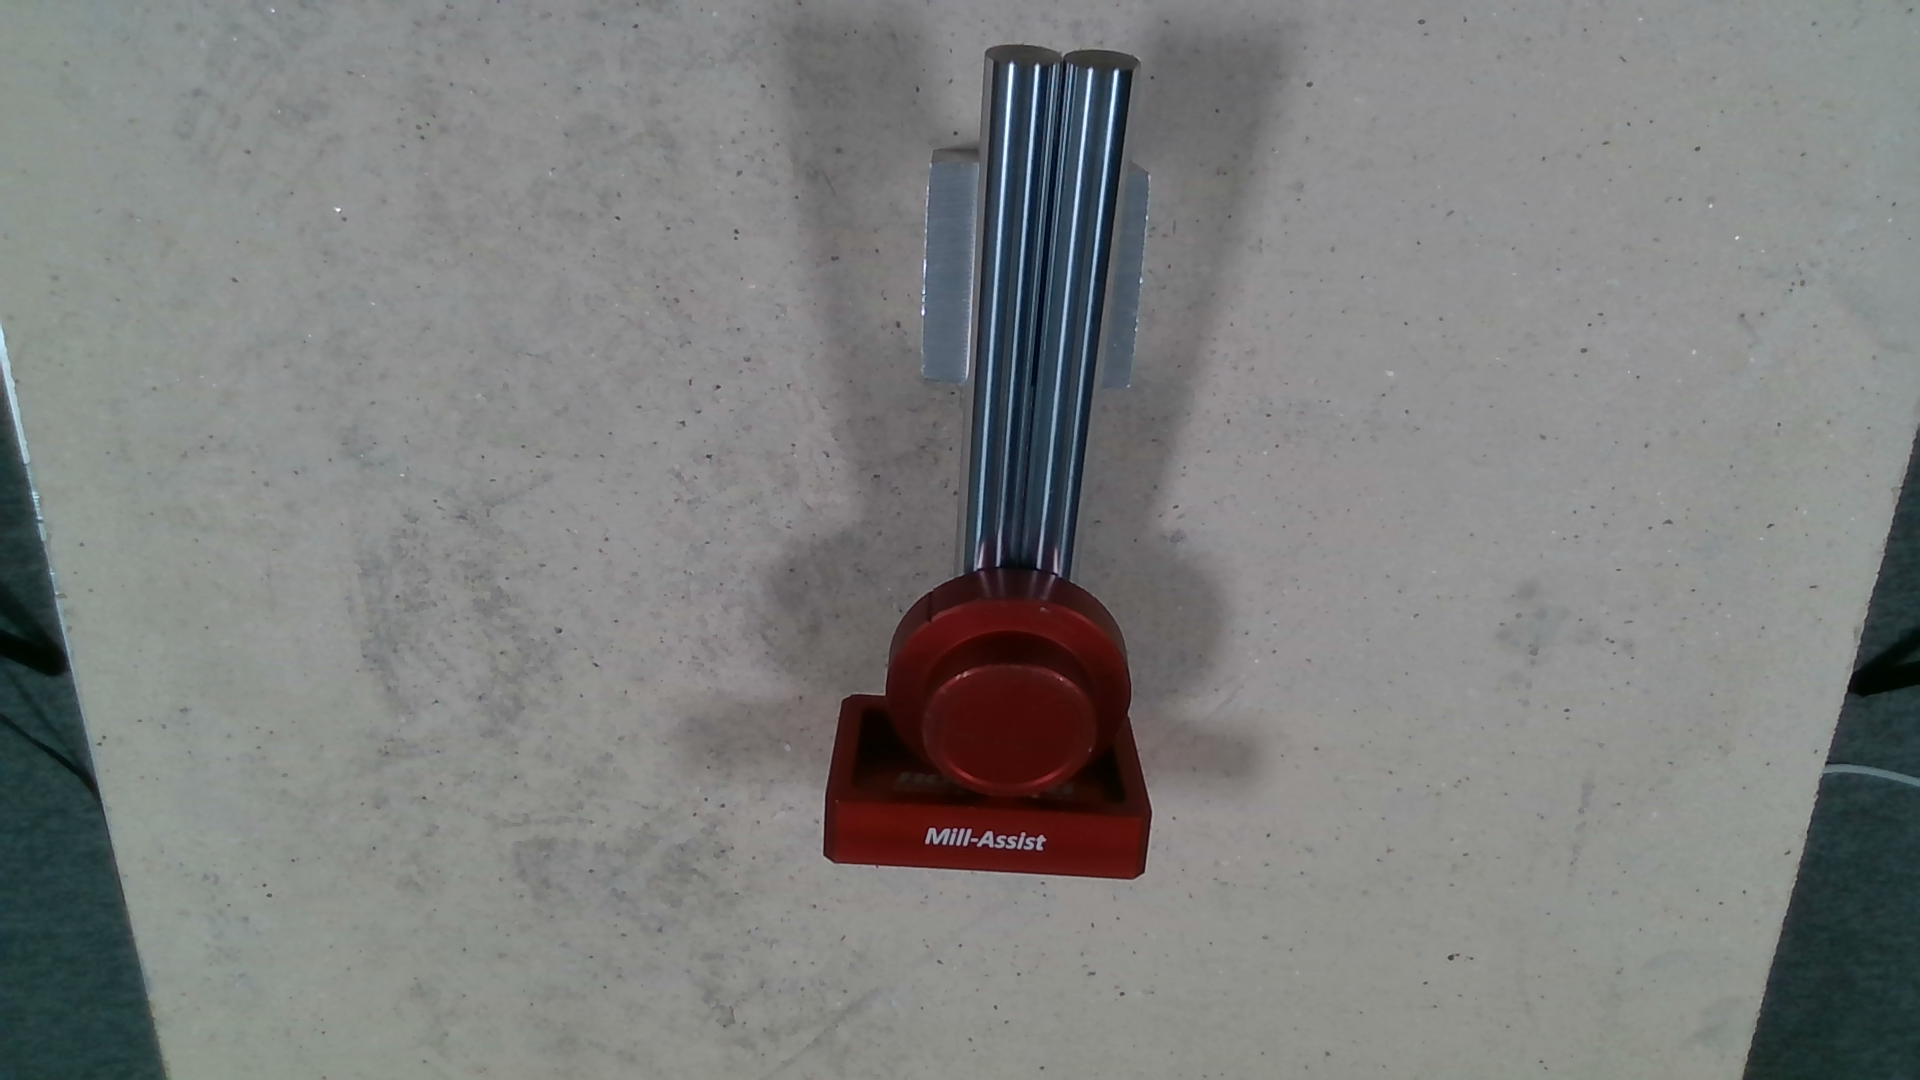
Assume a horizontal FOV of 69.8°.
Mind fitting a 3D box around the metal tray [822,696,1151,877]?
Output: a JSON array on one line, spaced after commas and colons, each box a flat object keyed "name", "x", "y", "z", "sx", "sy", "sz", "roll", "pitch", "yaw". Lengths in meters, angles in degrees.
[{"name": "metal tray", "x": 0.010, "y": 0.103, "z": 0.588, "sx": 0.130, "sy": 0.090, "sz": 0.030, "roll": 3, "pitch": 110, "yaw": -1}]

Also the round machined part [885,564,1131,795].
[{"name": "round machined part", "x": 0.019, "y": 0.062, "z": 0.547, "sx": 0.098, "sy": 0.042, "sz": 0.098, "roll": 1, "pitch": 121, "yaw": 2}]

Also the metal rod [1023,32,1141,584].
[{"name": "metal rod", "x": 0.040, "y": -0.034, "z": 0.524, "sx": 0.025, "sy": 0.025, "sz": 0.301, "roll": 2, "pitch": 123, "yaw": -1}]

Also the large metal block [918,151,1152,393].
[{"name": "large metal block", "x": 0.026, "y": -0.104, "z": 0.529, "sx": 0.080, "sy": 0.050, "sz": 0.080, "roll": 3, "pitch": 110, "yaw": -1}]

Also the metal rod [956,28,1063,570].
[{"name": "metal rod", "x": 0.013, "y": -0.036, "z": 0.524, "sx": 0.025, "sy": 0.025, "sz": 0.301, "roll": 3, "pitch": 123, "yaw": -1}]
